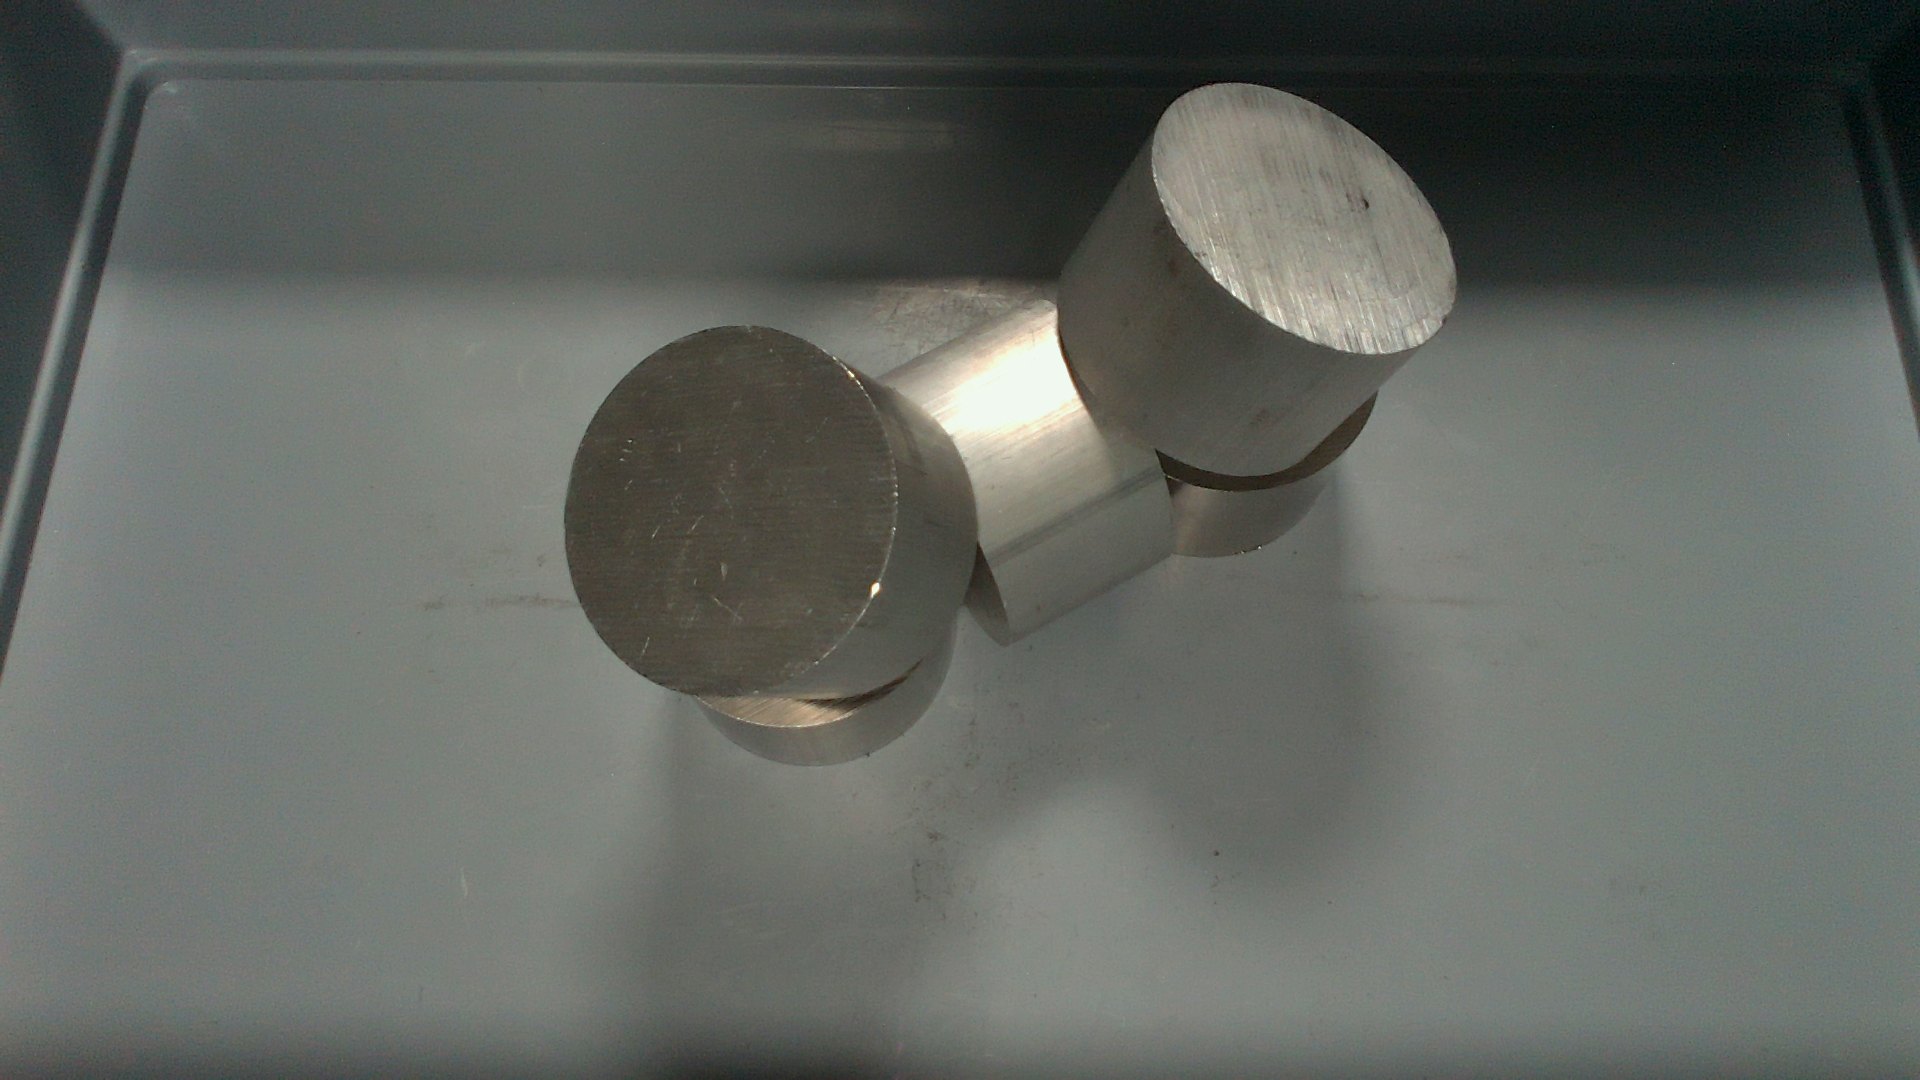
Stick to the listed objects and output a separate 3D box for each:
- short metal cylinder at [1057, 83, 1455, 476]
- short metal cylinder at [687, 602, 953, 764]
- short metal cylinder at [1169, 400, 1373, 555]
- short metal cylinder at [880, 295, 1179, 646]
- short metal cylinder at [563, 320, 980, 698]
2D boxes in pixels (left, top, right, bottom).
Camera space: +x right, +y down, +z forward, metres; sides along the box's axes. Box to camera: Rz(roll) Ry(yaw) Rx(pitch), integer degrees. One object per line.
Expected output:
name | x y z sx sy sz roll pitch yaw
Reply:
short metal cylinder | 0.070 -0.063 0.334 0.080 0.050 0.080 12 55 -18
short metal cylinder | -0.042 0.017 0.373 0.080 0.050 0.080 0 70 0
short metal cylinder | 0.073 -0.042 0.395 0.080 0.050 0.080 0 70 0
short metal cylinder | 0.016 -0.019 0.371 0.050 0.080 0.080 -28 72 -10
short metal cylinder | -0.041 -0.004 0.313 0.080 0.050 0.080 -2 82 19
